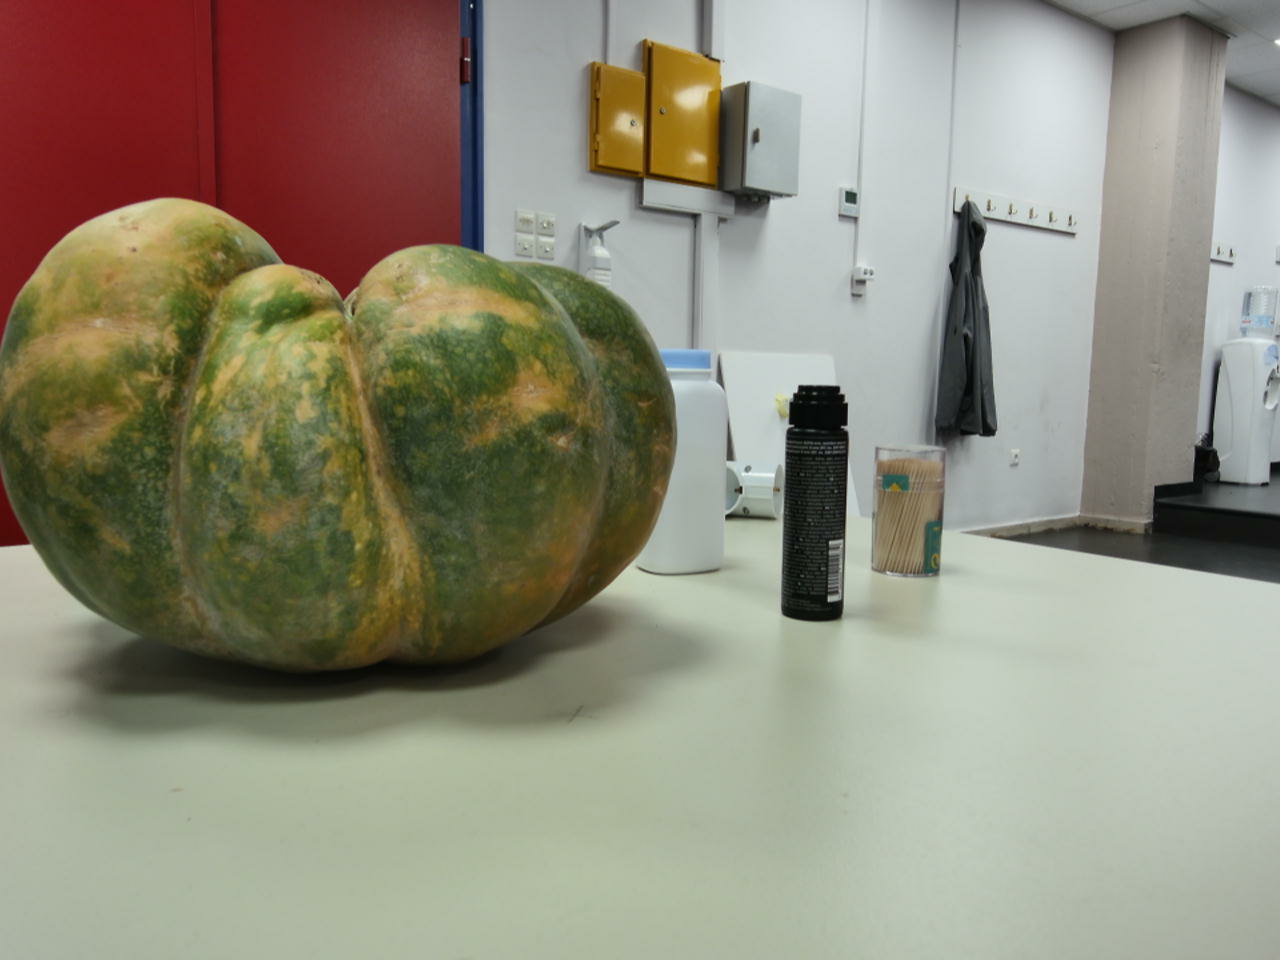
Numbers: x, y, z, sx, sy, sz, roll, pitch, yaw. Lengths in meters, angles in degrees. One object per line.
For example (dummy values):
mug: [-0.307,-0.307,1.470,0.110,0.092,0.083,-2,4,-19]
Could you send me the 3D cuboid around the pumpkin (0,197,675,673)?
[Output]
pumpkin: [-0.122,-0.015,0.415,0.270,0.173,0.237,0,4,-2]
